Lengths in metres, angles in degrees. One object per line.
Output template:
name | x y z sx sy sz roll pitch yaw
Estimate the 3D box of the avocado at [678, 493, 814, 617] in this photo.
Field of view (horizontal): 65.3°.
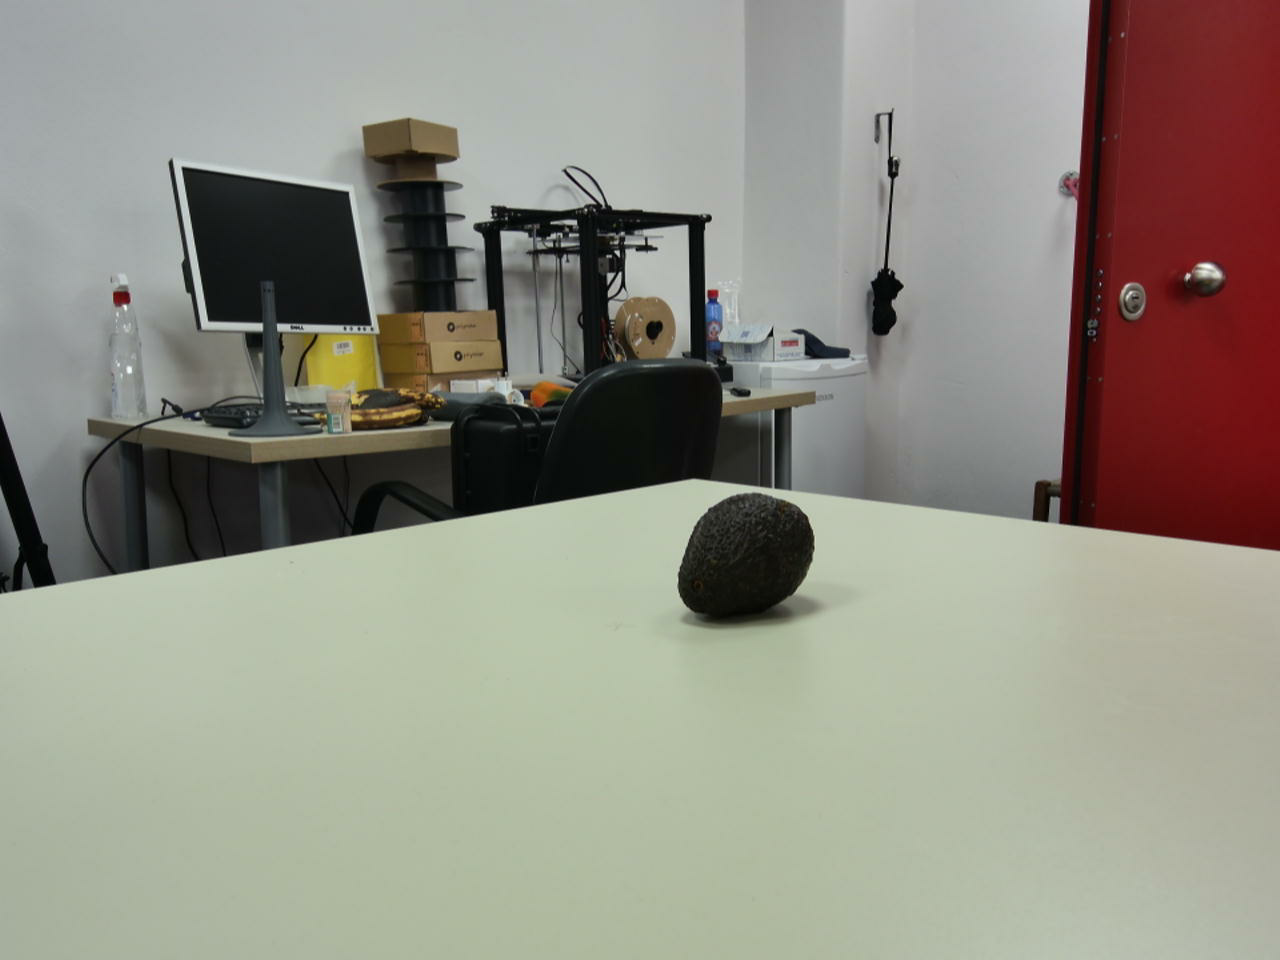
avocado | 0.061 0.043 0.599 0.090 0.069 0.070 -3 7 -18
